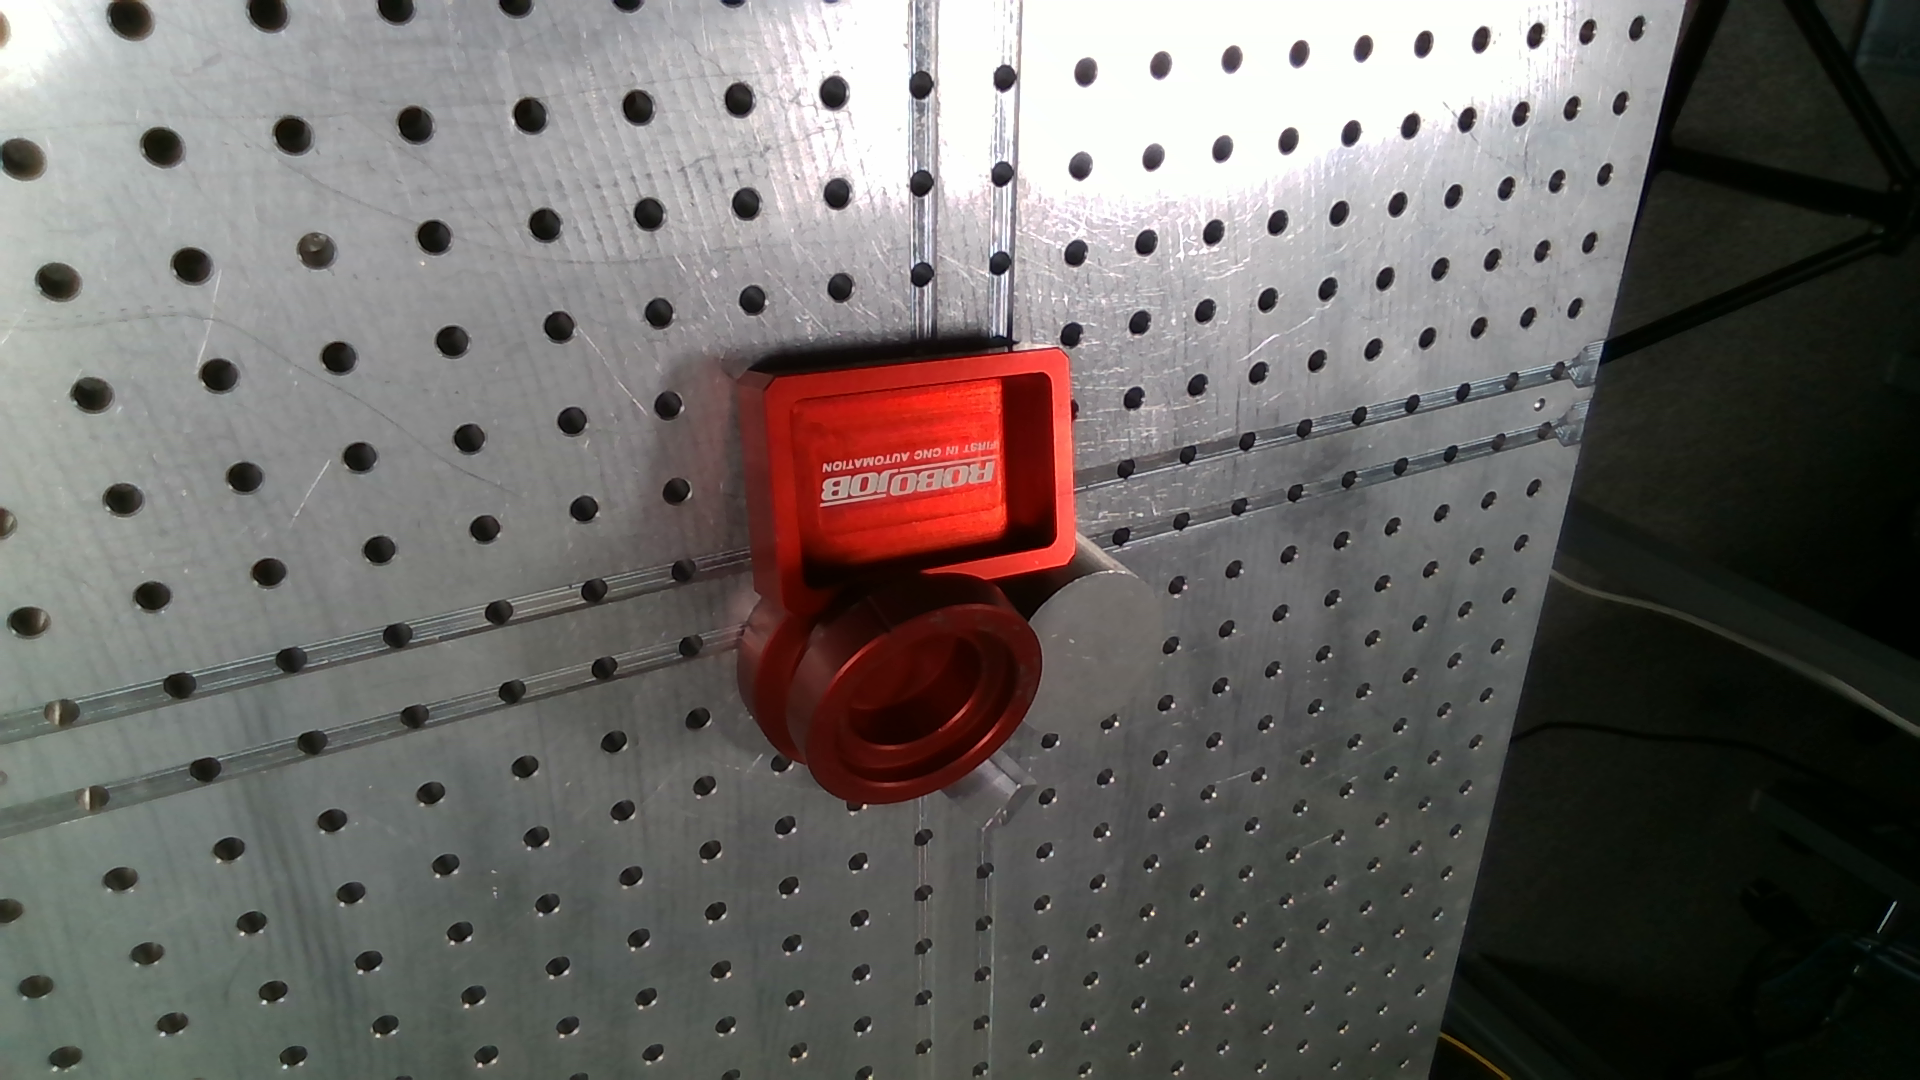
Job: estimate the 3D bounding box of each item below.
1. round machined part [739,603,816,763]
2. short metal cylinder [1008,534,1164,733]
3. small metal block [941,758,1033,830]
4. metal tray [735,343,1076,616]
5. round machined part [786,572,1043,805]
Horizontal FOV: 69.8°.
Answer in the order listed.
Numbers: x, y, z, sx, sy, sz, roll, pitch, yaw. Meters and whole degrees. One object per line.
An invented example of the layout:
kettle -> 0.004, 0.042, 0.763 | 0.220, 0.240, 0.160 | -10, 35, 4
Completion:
round machined part -> -0.040, 0.055, 0.576 | 0.098, 0.042, 0.098 | -14, 122, -25
short metal cylinder -> 0.043, 0.039, 0.615 | 0.080, 0.050, 0.080 | -14, 122, -25
small metal block -> 0.004, 0.101, 0.613 | 0.025, 0.050, 0.050 | -50, 164, 1
metal tray -> -0.018, -0.027, 0.540 | 0.130, 0.030, 0.090 | -10, 105, -27
round machined part -> -0.021, 0.051, 0.526 | 0.098, 0.042, 0.098 | -17, 133, -20
